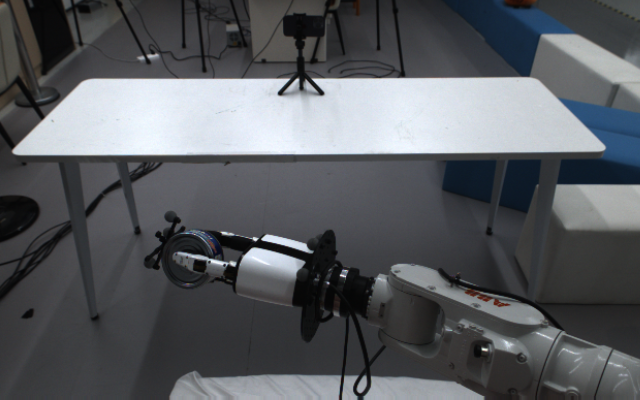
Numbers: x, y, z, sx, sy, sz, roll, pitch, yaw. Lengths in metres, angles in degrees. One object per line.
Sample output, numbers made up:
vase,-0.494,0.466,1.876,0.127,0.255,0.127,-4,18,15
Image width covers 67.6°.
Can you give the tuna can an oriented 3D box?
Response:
tuna can,-0.185,0.087,0.714,0.085,0.085,0.034,8,7,9
